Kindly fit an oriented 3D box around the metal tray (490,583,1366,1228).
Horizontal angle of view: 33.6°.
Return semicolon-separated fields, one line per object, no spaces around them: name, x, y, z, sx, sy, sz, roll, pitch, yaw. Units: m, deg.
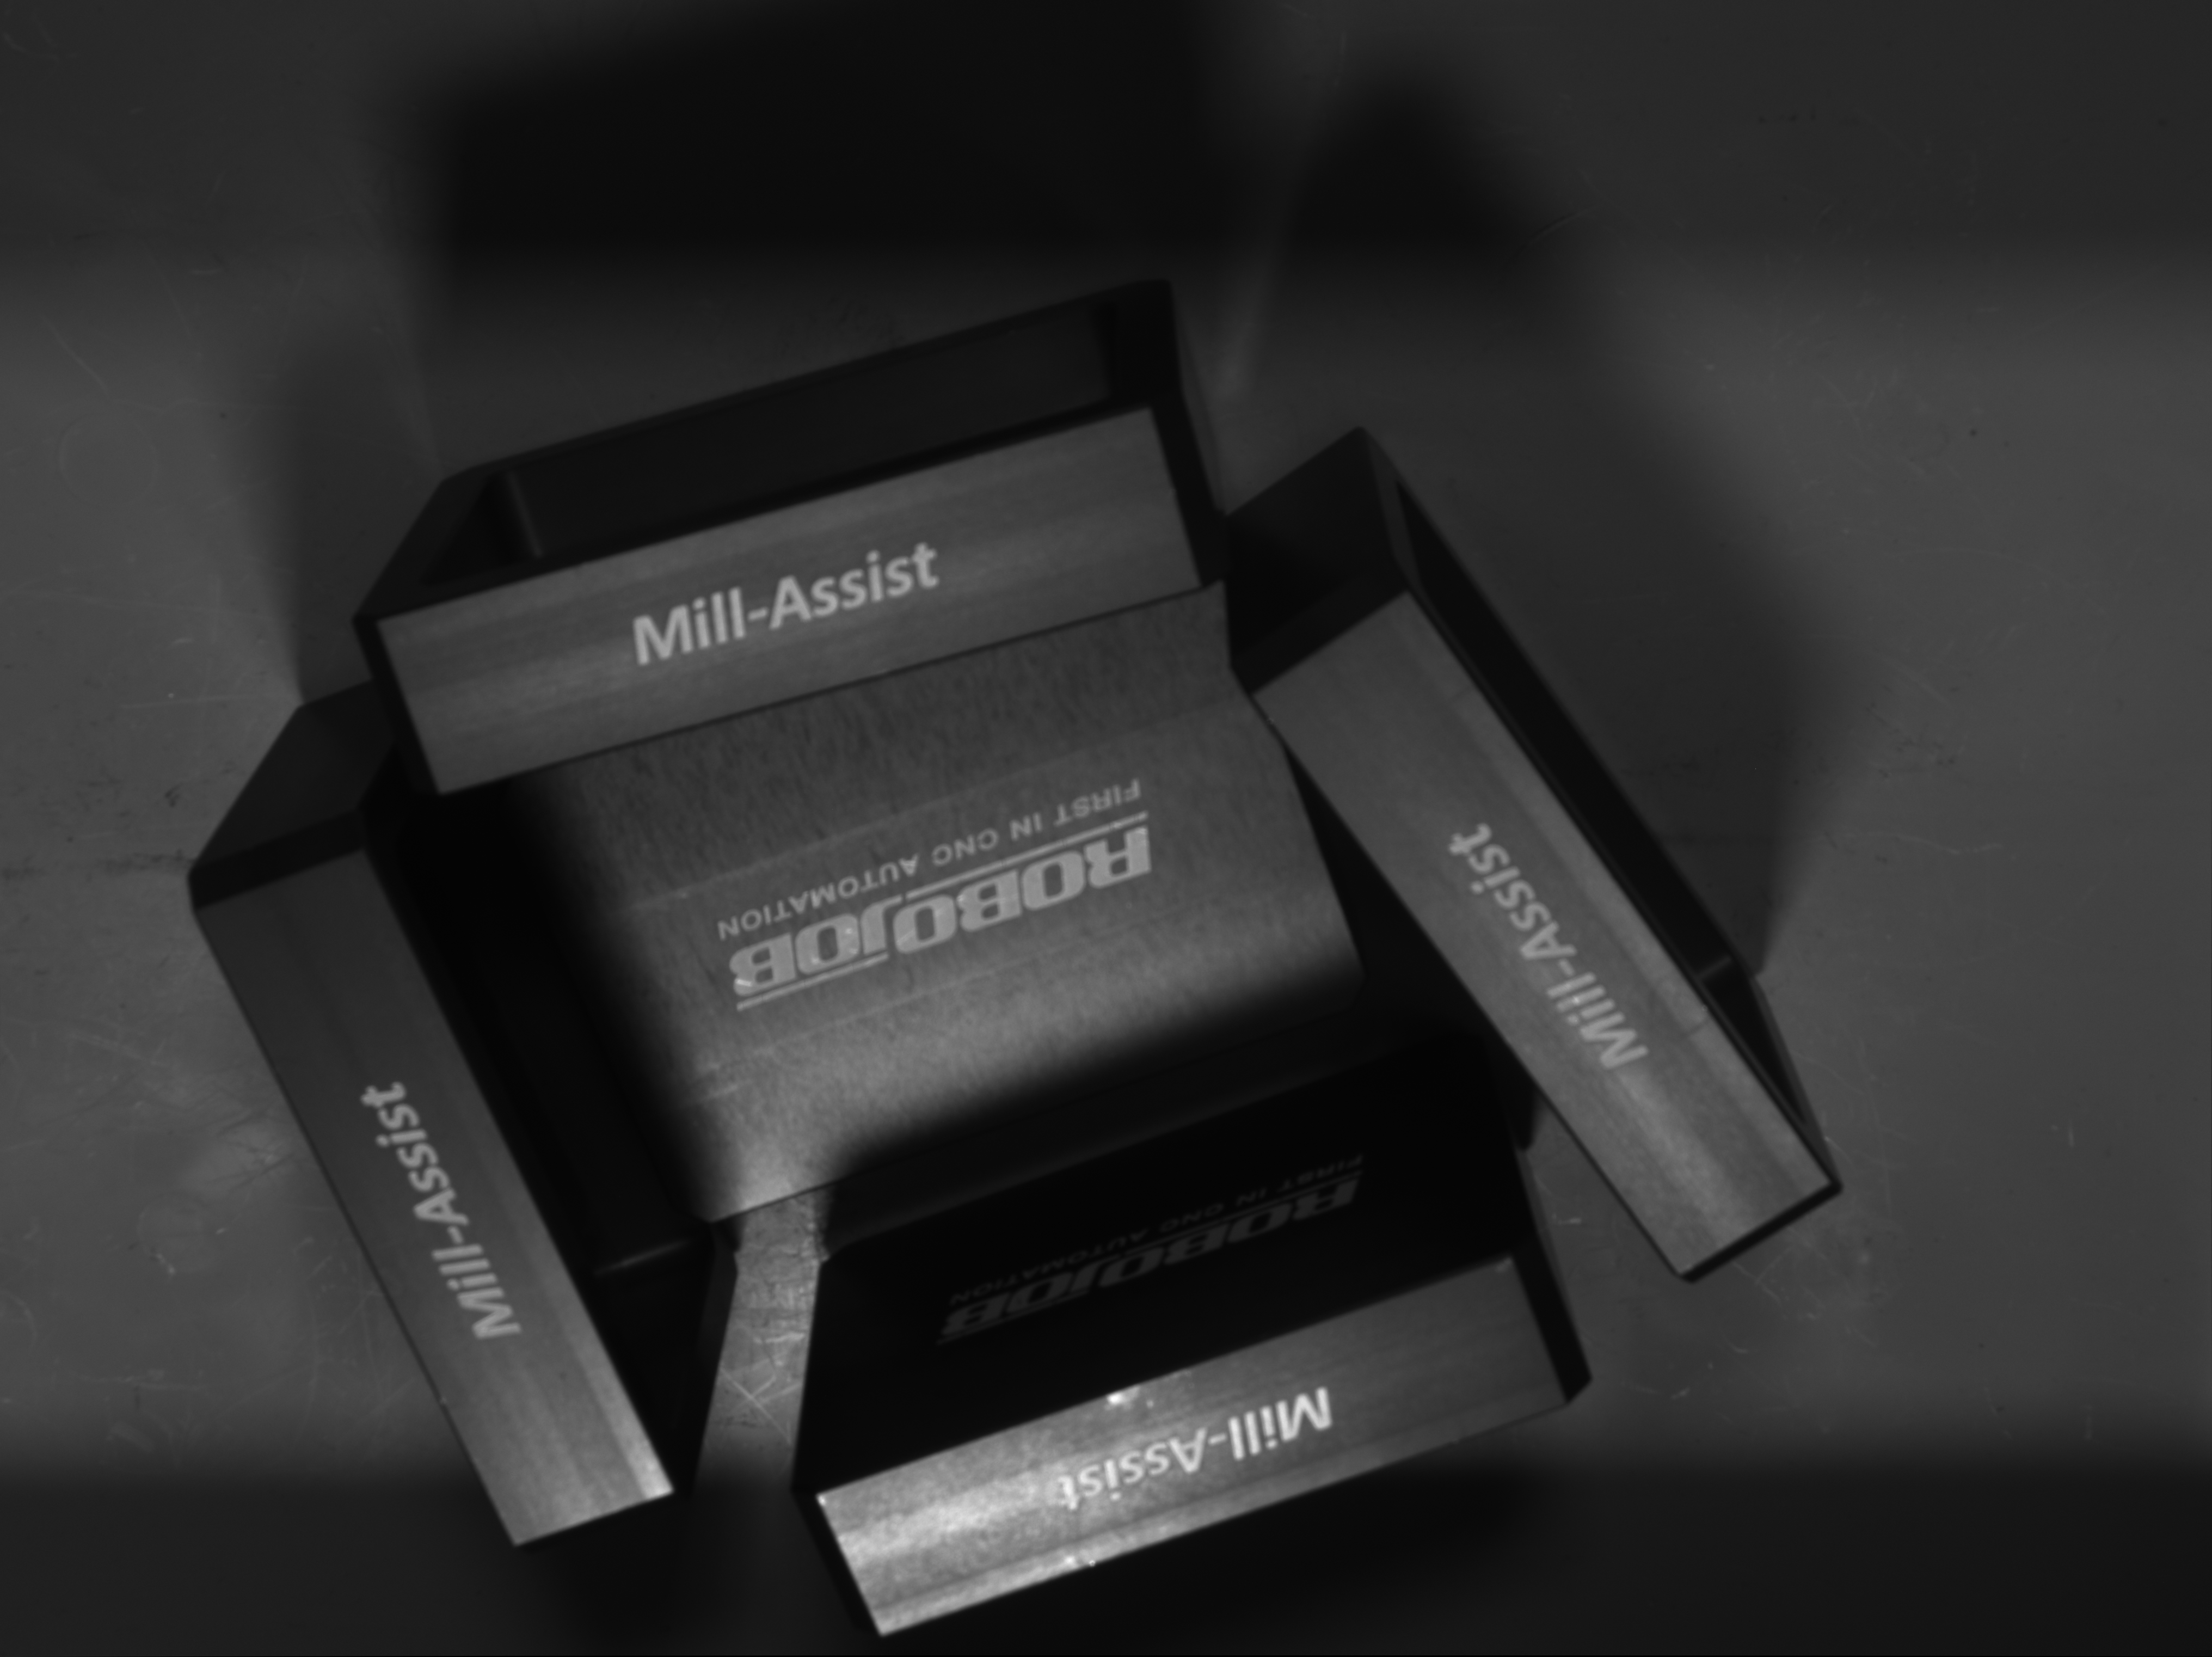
metal tray;-0.030;0.007;0.640;0.130;0.030;0.090;-19;109;6

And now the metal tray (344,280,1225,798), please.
metal tray;-0.049;-0.049;0.588;0.130;0.090;0.030;-15;109;5

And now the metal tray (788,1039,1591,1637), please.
metal tray;0.013;0.086;0.638;0.130;0.090;0.030;-19;109;6

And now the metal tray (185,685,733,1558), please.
metal tray;-0.106;0.046;0.622;0.030;0.090;0.130;-20;109;7

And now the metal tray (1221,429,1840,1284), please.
metal tray;0.068;0.003;0.609;0.030;0.090;0.130;-34;107;12
